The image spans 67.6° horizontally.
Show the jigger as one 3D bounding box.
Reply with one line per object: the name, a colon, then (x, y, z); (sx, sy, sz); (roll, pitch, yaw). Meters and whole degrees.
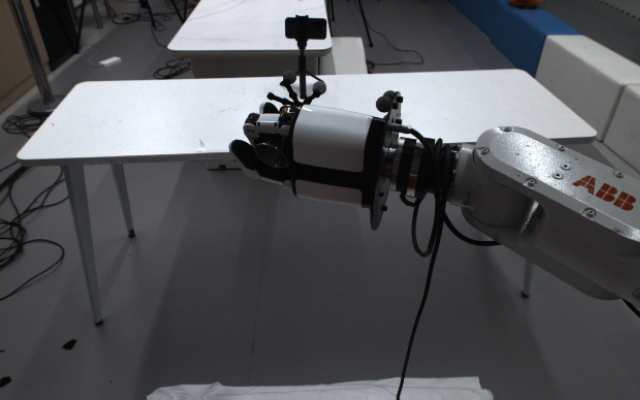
jigger: (-0.044, -0.081, 0.588); (0.043, 0.043, 0.071); (15, 58, 18)
